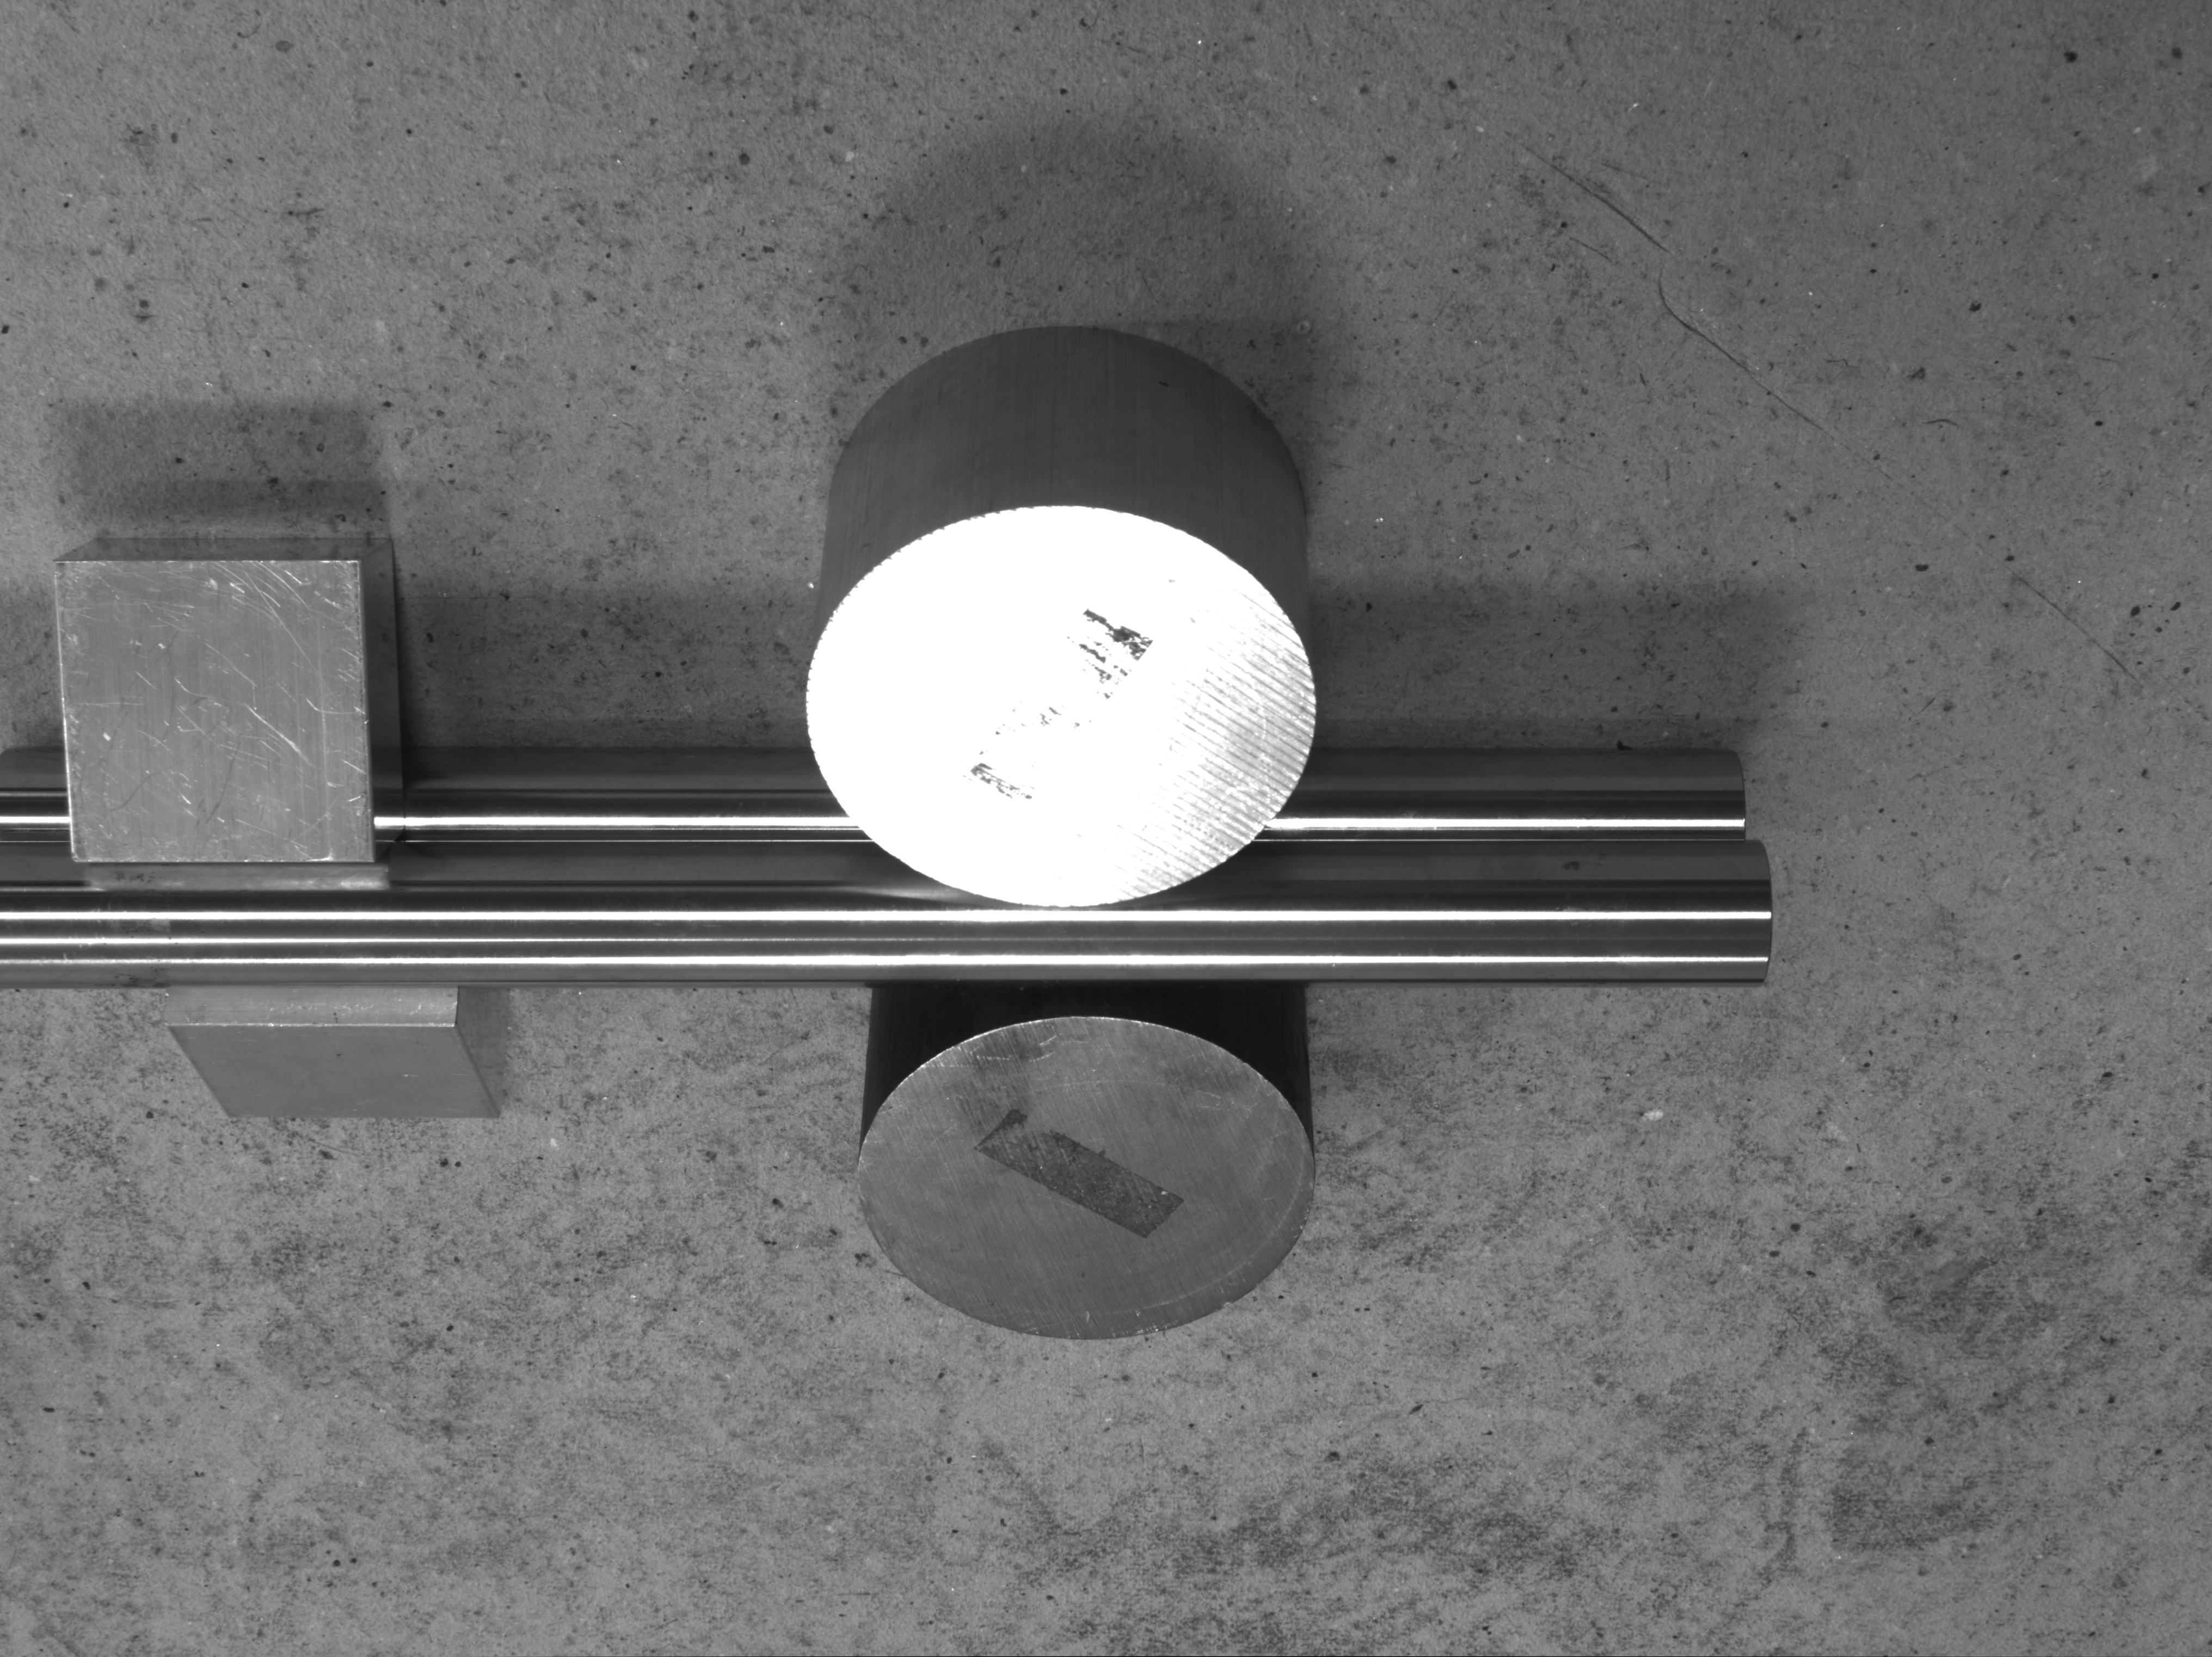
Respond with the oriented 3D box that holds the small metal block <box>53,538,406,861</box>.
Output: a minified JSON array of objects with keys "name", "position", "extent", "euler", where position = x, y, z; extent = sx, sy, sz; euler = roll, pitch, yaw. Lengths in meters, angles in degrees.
[{"name":"small metal block","position":[-0.144,-0.022,0.609],"extent":[0.050,0.025,0.050],"euler":[0,103,0]}]

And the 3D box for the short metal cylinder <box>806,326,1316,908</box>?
[{"name":"short metal cylinder","position":[-0.007,-0.034,0.595],"extent":[0.080,0.050,0.080],"euler":[0,130,0]}]

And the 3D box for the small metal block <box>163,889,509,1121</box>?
[{"name":"small metal block","position":[-0.136,0.032,0.653],"extent":[0.050,0.025,0.050],"euler":[0,157,-1]}]

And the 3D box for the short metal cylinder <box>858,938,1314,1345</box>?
[{"name":"short metal cylinder","position":[-0.003,0.047,0.663],"extent":[0.080,0.050,0.080],"euler":[0,130,0]}]

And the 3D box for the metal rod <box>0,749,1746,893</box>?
[{"name":"metal rod","position":[-0.041,-0.001,0.639],"extent":[0.300,0.025,0.025],"euler":[0,130,0]}]

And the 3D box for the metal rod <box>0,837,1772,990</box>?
[{"name":"metal rod","position":[-0.040,0.014,0.619],"extent":[0.300,0.025,0.025],"euler":[0,130,0]}]
